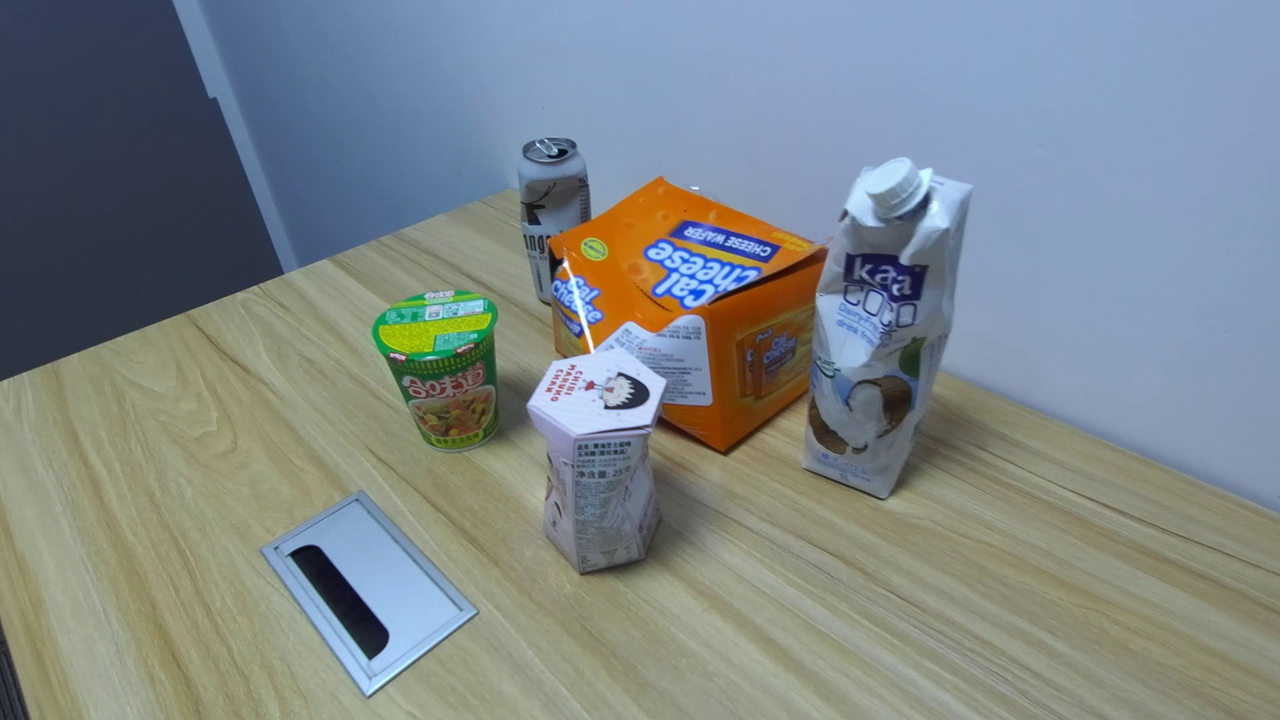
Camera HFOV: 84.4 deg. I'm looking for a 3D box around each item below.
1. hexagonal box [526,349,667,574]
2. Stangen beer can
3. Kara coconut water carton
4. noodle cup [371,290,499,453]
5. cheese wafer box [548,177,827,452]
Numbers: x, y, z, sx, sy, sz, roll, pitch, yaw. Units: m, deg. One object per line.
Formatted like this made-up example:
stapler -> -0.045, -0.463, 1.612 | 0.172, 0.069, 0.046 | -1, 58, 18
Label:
hexagonal box -> -0.023, 0.069, 0.481 | 0.091, 0.135, 0.089 | -23, 43, -25
Stangen beer can -> -0.085, -0.140, 0.732 | 0.070, 0.173, 0.070 | 28, 47, 36
Kara coconut water carton -> 0.165, -0.022, 0.489 | 0.083, 0.256, 0.078 | 29, 49, 36
noodle cup -> -0.160, 0.015, 0.587 | 0.097, 0.110, 0.097 | -1, 36, 1
cheese wafer box -> 0.033, -0.047, 0.624 | 0.192, 0.145, 0.218 | -31, 45, -32
